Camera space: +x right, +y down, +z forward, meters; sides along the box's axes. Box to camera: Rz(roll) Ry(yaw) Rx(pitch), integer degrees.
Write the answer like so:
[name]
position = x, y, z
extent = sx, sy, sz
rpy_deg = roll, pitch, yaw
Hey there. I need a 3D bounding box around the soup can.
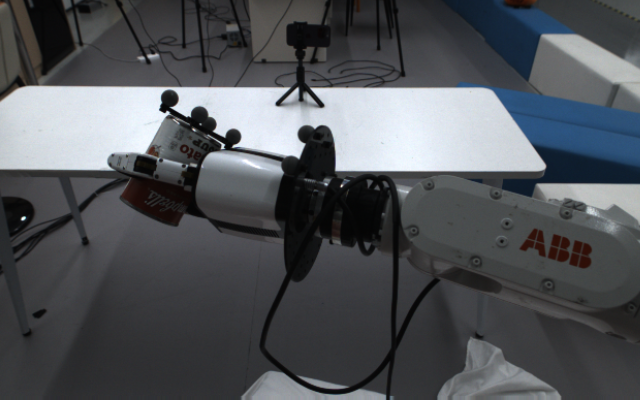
[soup can]
position = -0.158, -0.030, 0.519
extent = 0.067, 0.101, 0.067
rpy_deg = 29, -2, 1
